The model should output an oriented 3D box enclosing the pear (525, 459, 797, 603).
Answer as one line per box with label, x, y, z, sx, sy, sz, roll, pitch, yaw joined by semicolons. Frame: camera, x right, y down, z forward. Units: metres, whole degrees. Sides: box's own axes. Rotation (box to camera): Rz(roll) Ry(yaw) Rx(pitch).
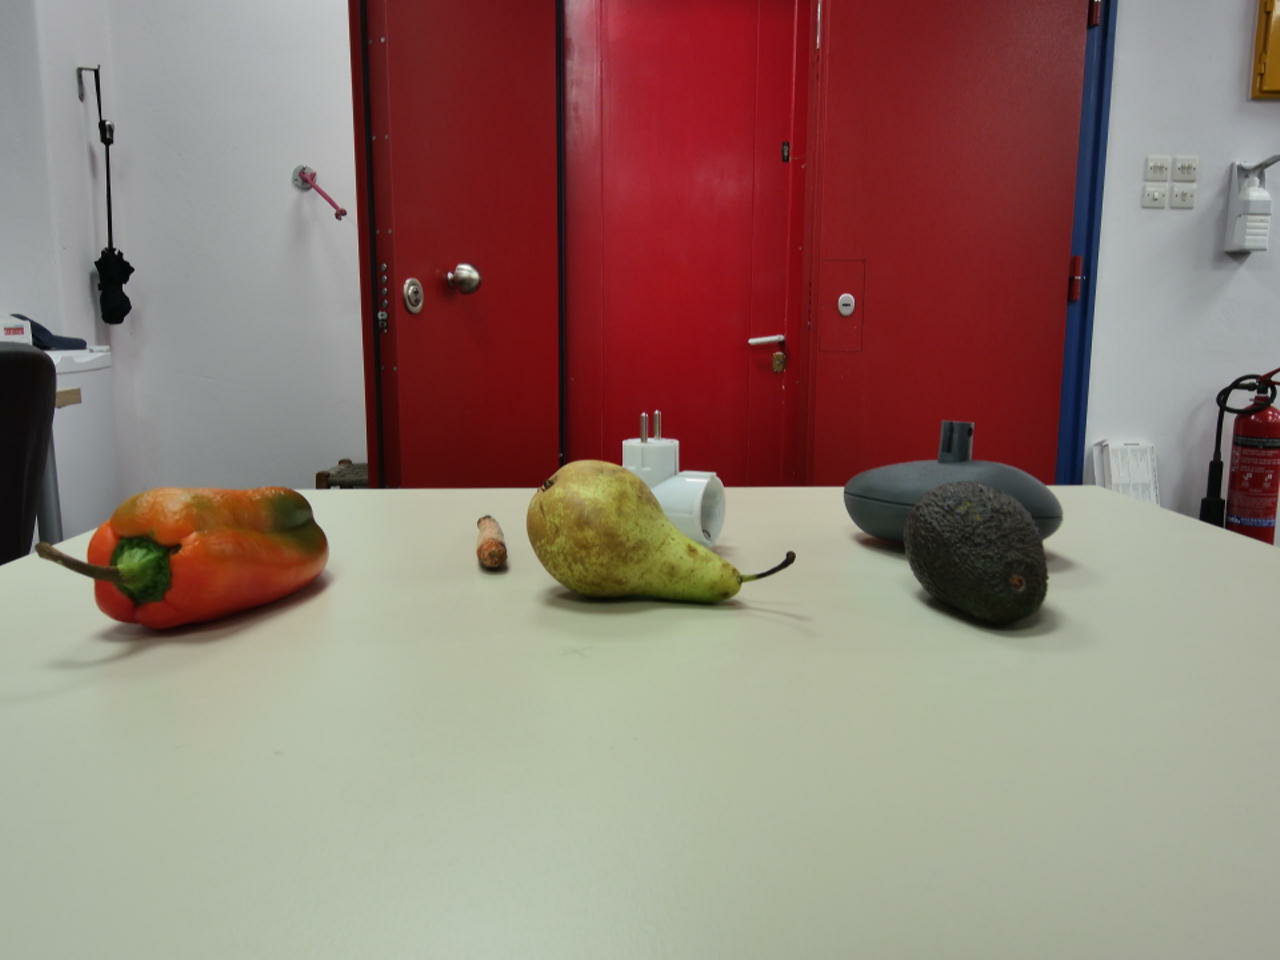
pear;0.010;0.027;0.540;0.144;0.075;0.071;0;7;7
